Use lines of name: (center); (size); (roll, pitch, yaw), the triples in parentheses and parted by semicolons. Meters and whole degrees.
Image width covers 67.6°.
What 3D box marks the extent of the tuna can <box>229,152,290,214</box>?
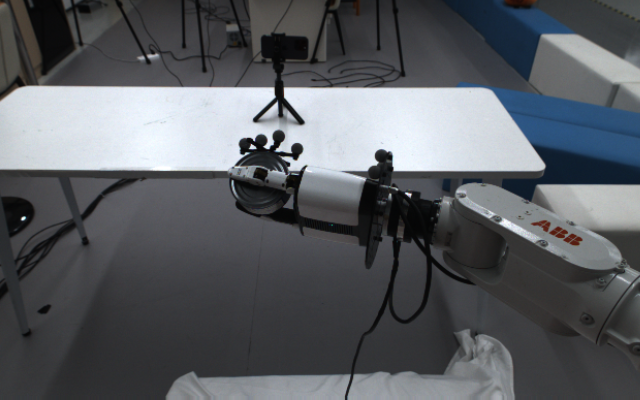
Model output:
tuna can: (-0.082, -0.024, 0.683); (0.085, 0.034, 0.085); (-3, 69, 8)
